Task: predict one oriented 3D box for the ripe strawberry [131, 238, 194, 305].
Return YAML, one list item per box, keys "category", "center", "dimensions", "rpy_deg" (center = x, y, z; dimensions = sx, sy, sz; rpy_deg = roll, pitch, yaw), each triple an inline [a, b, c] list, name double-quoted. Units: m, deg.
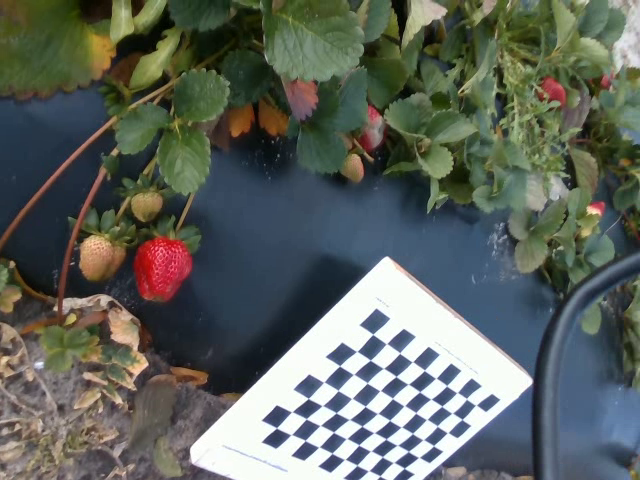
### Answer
- category: "ripe strawberry"
  center: [-0.132, 0.029, 0.557]
  dimensions: [0.066, 0.075, 0.053]
  rpy_deg: [15, 26, -31]
